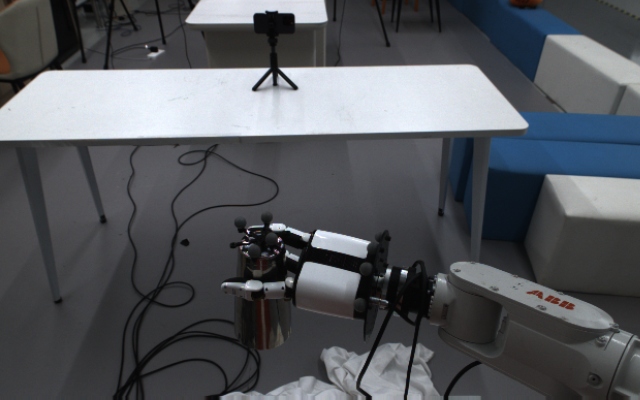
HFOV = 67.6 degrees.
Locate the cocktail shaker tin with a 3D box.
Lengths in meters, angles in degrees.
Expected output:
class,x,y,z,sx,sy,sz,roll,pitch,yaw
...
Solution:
class,x,y,z,sx,sy,sz,roll,pitch,yaw
cocktail shaker tin,-0.085,0.131,0.733,0.093,0.170,0.093,2,33,-2
